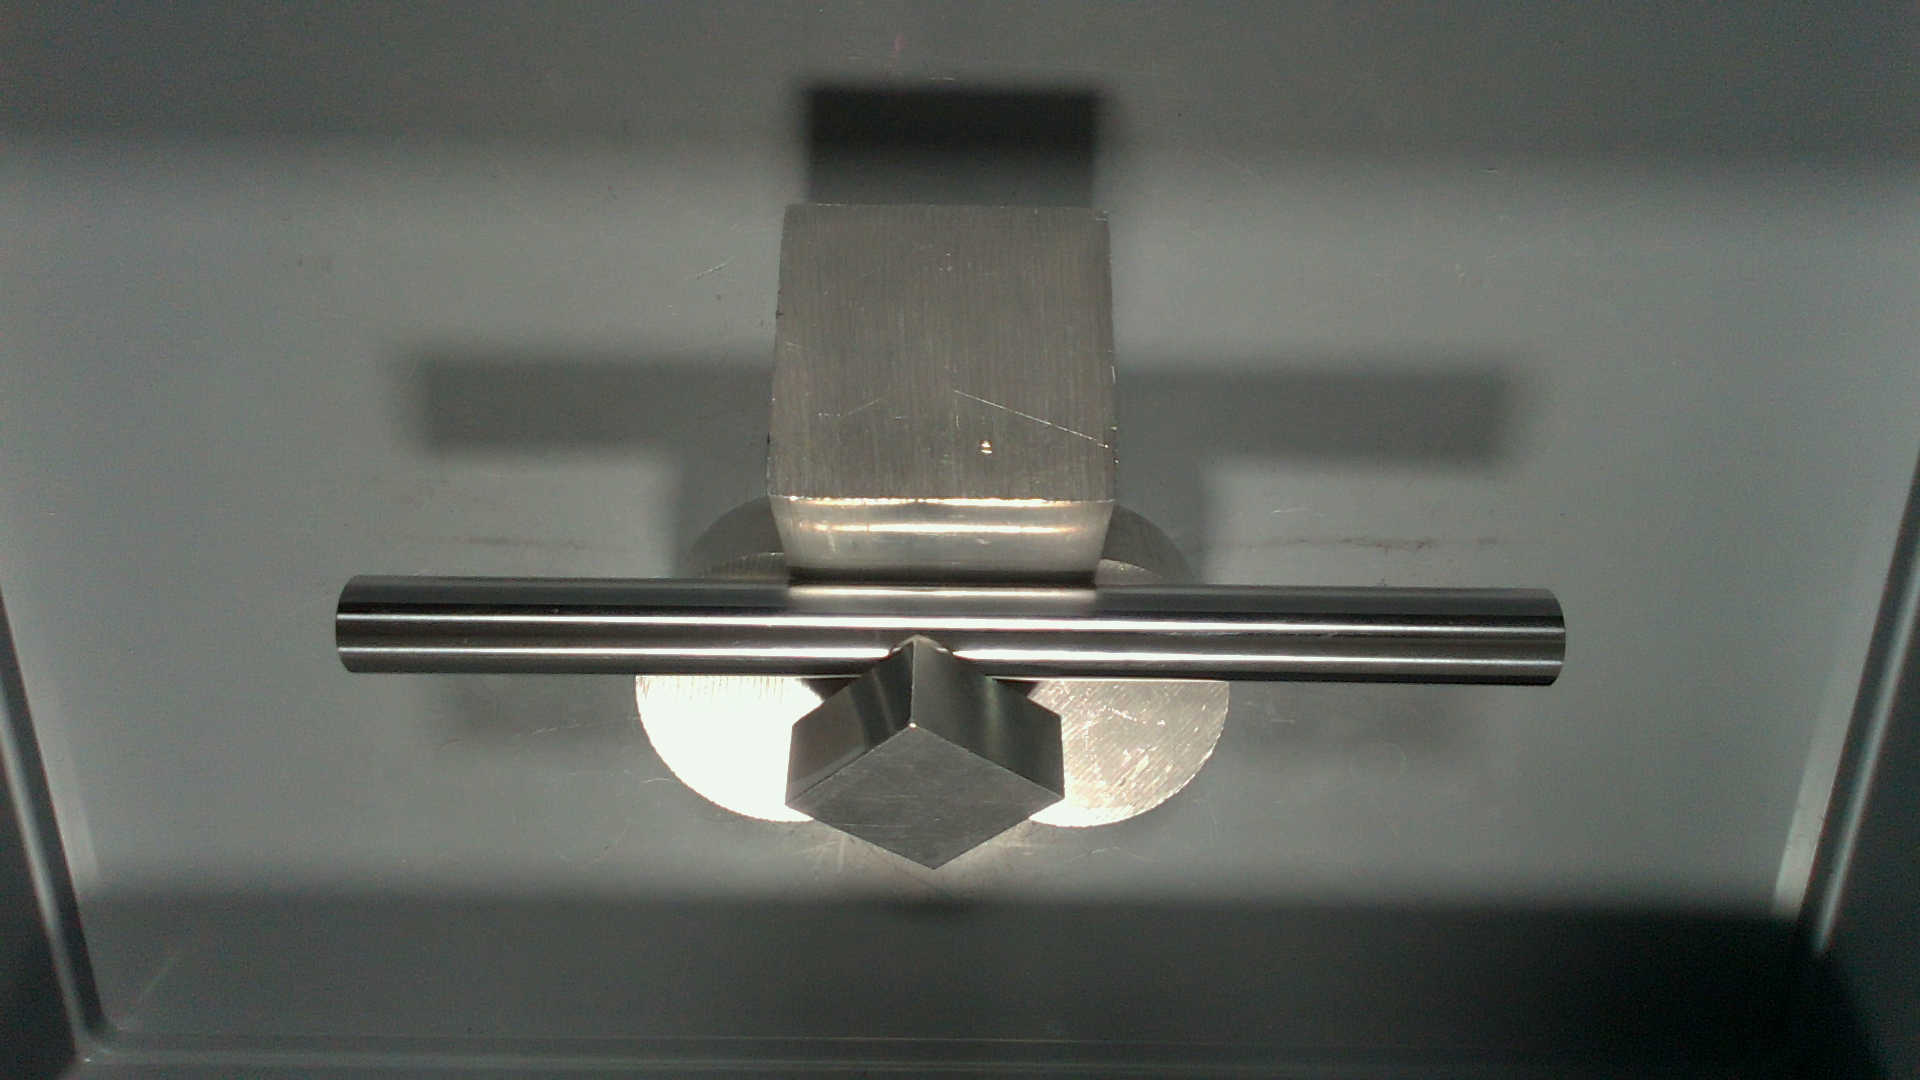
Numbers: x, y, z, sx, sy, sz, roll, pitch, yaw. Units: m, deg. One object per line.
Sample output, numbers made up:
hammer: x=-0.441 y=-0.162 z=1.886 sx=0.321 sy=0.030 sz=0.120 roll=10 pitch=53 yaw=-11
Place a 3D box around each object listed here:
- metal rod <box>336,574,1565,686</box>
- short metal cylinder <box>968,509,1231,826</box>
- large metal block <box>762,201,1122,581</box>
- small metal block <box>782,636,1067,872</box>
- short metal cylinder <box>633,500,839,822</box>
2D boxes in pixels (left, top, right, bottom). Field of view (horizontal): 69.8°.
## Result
metal rod: x=-0.002 y=0.023 z=0.348 sx=0.300 sy=0.025 sz=0.025 roll=1 pitch=110 yaw=-1
short metal cylinder: x=0.033 y=0.034 z=0.392 sx=0.080 sy=0.050 sz=0.080 roll=0 pitch=110 yaw=0
large metal block: x=-0.004 y=-0.036 z=0.344 sx=0.080 sy=0.050 sz=0.080 roll=1 pitch=67 yaw=0
small metal block: x=-0.009 y=0.056 z=0.349 sx=0.050 sy=0.025 sz=0.050 roll=30 pitch=130 yaw=-30
short metal cylinder: x=-0.047 y=0.032 z=0.391 sx=0.080 sy=0.050 sz=0.080 roll=0 pitch=110 yaw=0
